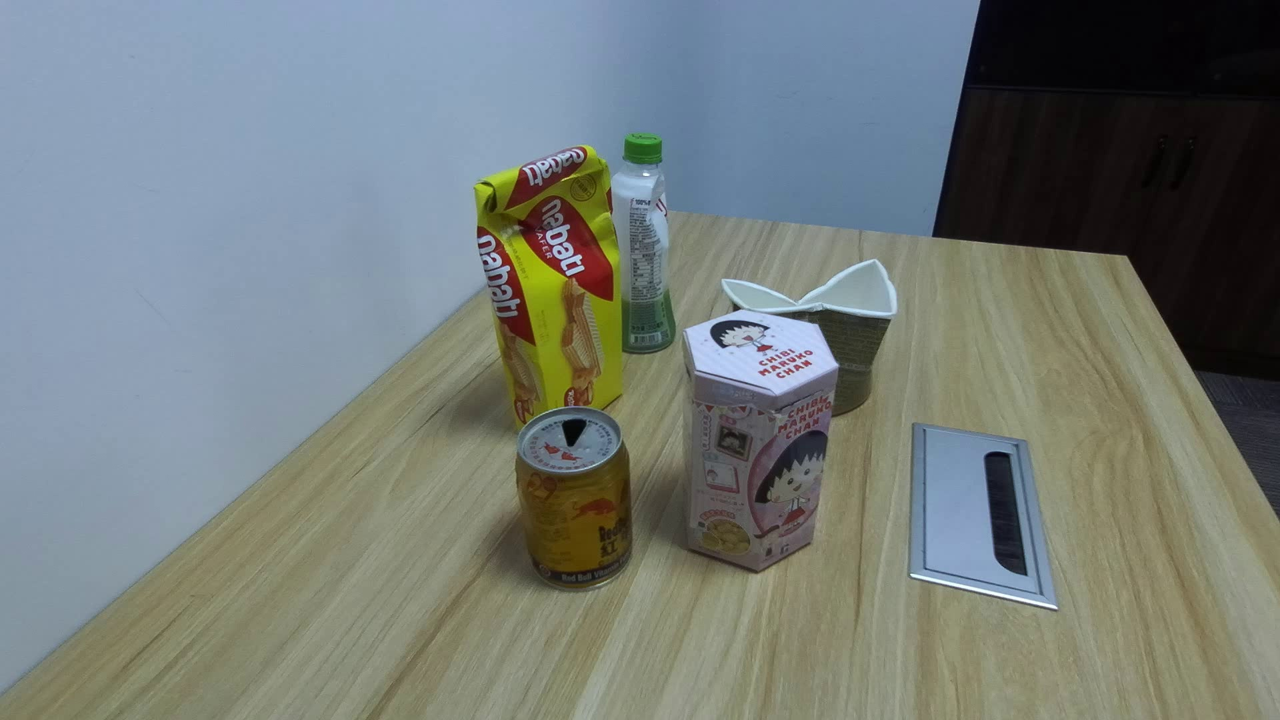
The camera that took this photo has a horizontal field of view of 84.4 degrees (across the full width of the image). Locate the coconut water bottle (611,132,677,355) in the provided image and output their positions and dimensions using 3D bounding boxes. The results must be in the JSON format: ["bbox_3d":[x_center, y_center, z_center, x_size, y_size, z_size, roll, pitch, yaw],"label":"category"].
[{"bbox_3d":[0.001,-0.101,0.618,0.069,0.187,0.069,-1,29,1],"label":"coconut water bottle"}]

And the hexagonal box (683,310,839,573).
[{"bbox_3d":[0.068,0.049,0.424,0.091,0.136,0.083,-21,37,-28],"label":"hexagonal box"}]

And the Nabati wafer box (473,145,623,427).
[{"bbox_3d":[-0.058,-0.043,0.517,0.042,0.205,0.113,19,39,32],"label":"Nabati wafer box"}]

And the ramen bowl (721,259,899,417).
[{"bbox_3d":[0.132,-0.022,0.576,0.128,0.093,0.111,2,33,3],"label":"ramen bowl"}]
